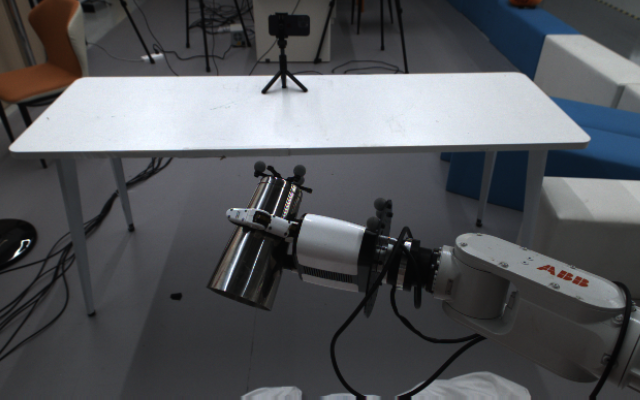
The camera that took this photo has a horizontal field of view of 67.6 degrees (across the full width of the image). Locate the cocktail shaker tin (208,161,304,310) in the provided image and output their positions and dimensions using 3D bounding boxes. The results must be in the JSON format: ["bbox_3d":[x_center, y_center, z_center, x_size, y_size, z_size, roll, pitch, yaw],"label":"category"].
[{"bbox_3d":[-0.084,0.056,0.670,0.093,0.093,0.170,14,70,16],"label":"cocktail shaker tin"}]
